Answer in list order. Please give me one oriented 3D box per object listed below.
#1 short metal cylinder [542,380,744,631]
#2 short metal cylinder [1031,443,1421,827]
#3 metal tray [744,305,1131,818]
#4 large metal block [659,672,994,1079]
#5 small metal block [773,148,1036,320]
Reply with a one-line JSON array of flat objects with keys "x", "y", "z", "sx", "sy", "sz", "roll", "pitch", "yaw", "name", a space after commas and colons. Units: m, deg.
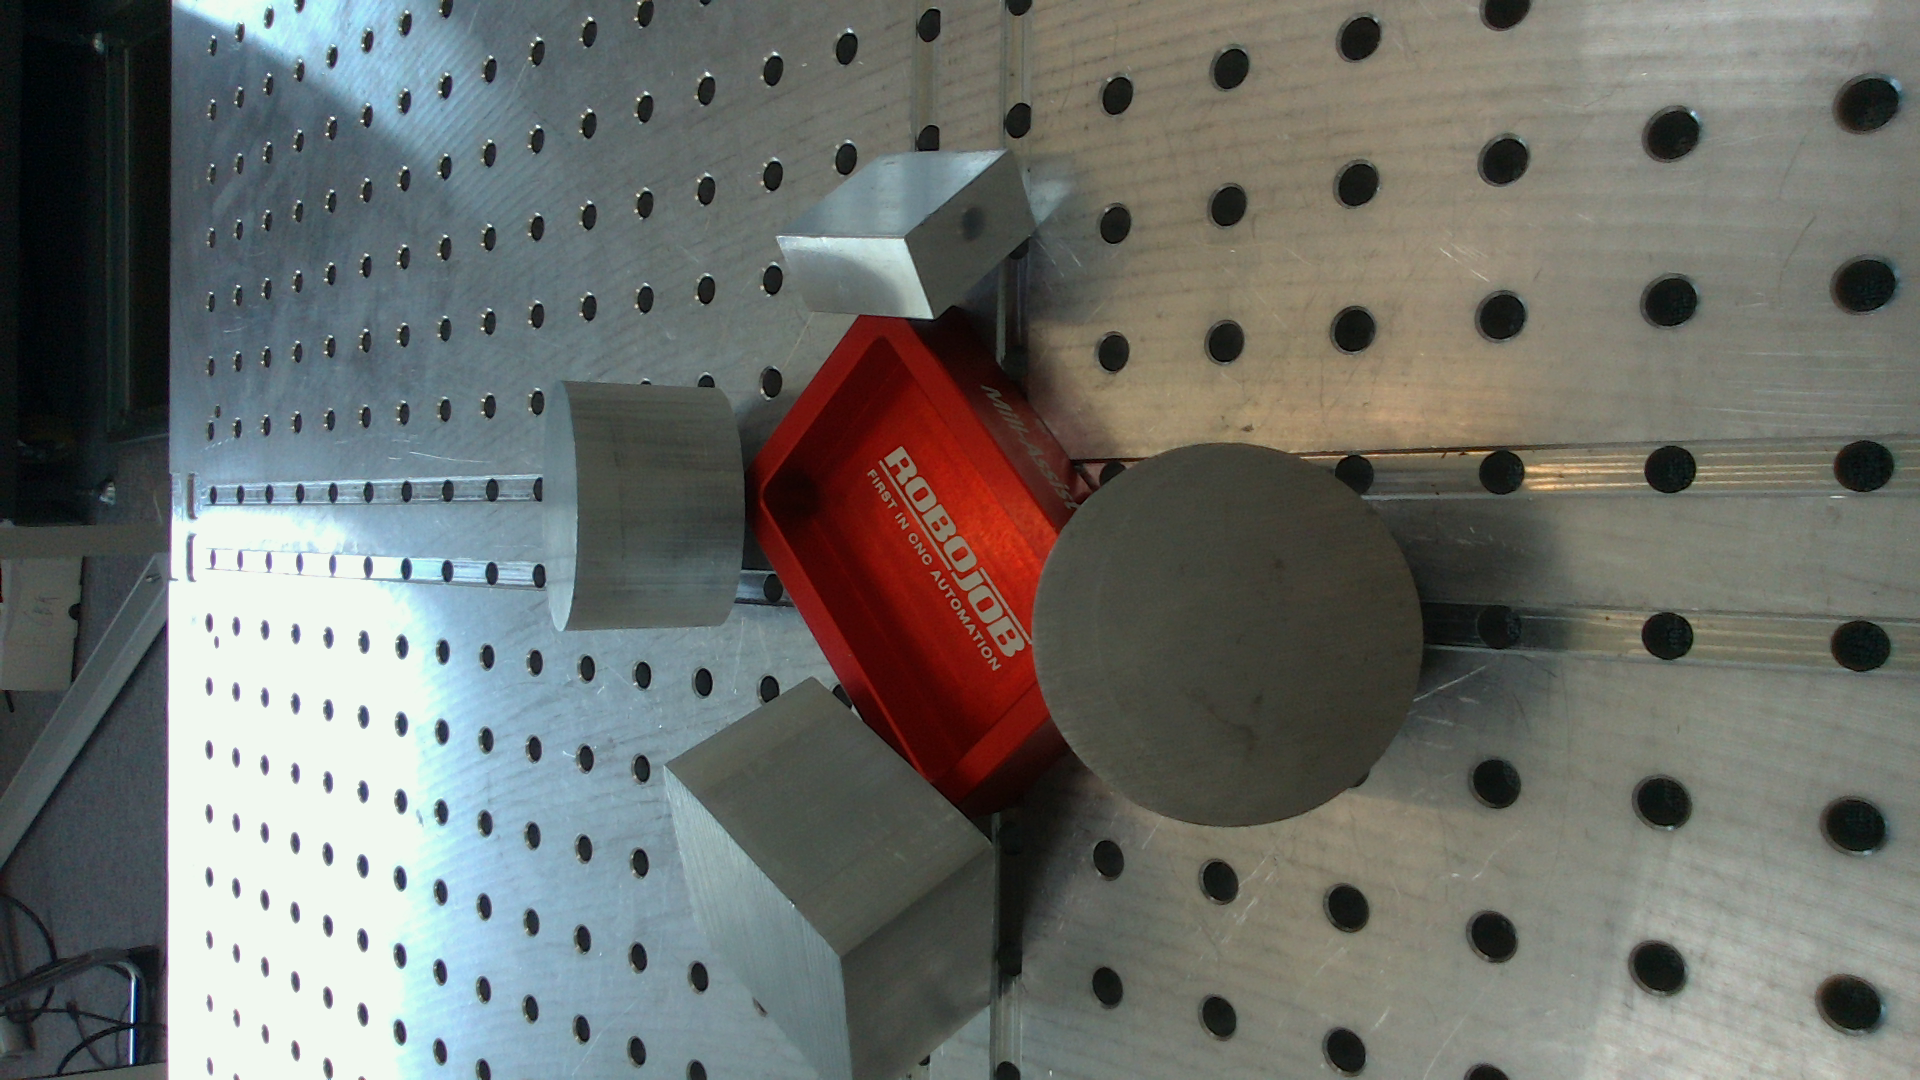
[{"x": -0.106, "y": -0.011, "z": 0.451, "sx": 0.080, "sy": 0.050, "sz": 0.080, "roll": 180, "pitch": 90, "yaw": -66, "name": "short metal cylinder"}, {"x": 0.060, "y": 0.020, "z": 0.311, "sx": 0.080, "sy": 0.050, "sz": 0.080, "roll": 0, "pitch": 90, "yaw": 14, "name": "short metal cylinder"}, {"x": -0.006, "y": 0.004, "z": 0.399, "sx": 0.090, "sy": 0.030, "sz": 0.130, "roll": -49, "pitch": 61, "yaw": 29, "name": "metal tray"}, {"x": -0.037, "y": 0.099, "z": 0.390, "sx": 0.080, "sy": 0.050, "sz": 0.080, "roll": 38, "pitch": 144, "yaw": 33, "name": "large metal block"}, {"x": -0.015, "y": -0.088, "z": 0.391, "sx": 0.050, "sy": 0.050, "sz": 0.025, "roll": 12, "pitch": 135, "yaw": 40, "name": "small metal block"}]
